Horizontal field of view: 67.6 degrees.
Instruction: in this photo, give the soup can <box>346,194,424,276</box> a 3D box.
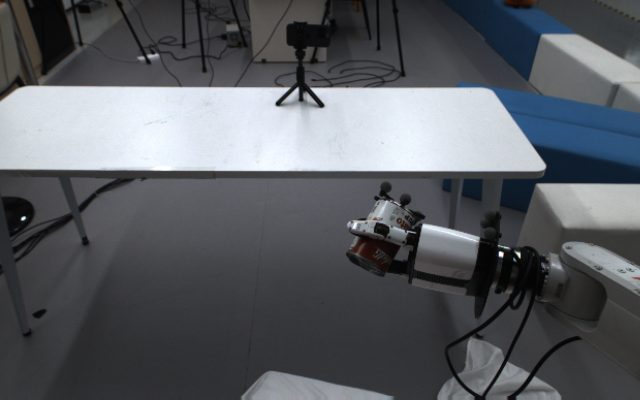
[{"bbox_3d":[0.094,0.056,0.737,0.067,0.067,0.101,24,72,28],"label":"soup can"}]
